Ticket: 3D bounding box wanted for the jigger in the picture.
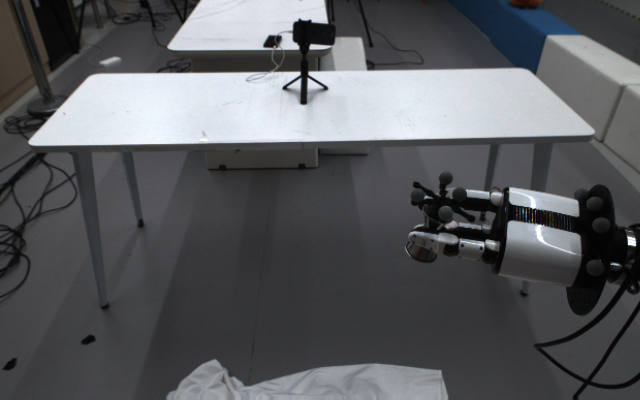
[{"bbox_3d":[0.140,0.041,0.628,0.043,0.071,0.043,10,35,-7],"label":"jigger"}]
